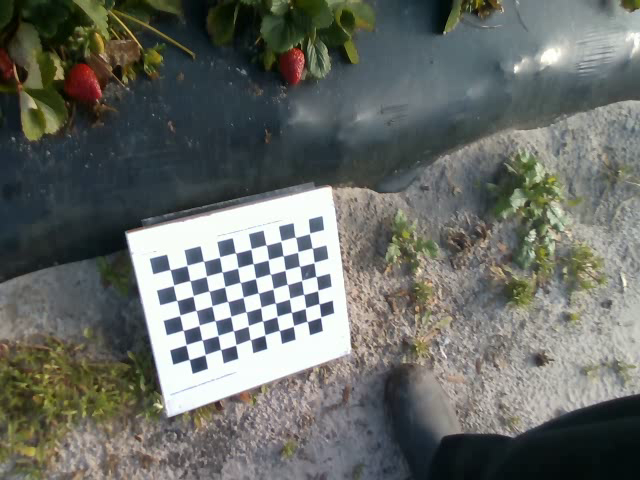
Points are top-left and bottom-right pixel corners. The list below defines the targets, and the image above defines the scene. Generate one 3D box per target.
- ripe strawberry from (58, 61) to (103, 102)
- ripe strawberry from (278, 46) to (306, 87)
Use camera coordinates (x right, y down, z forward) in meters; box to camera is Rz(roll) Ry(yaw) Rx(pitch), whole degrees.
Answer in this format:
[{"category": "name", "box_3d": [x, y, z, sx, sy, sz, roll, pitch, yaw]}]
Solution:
[{"category": "ripe strawberry", "box_3d": [-0.180, -0.116, 0.485, 0.030, 0.032, 0.025, 40, -8, -6]}, {"category": "ripe strawberry", "box_3d": [-0.024, -0.150, 0.557, 0.029, 0.036, 0.021, -12, 8, -17]}]
